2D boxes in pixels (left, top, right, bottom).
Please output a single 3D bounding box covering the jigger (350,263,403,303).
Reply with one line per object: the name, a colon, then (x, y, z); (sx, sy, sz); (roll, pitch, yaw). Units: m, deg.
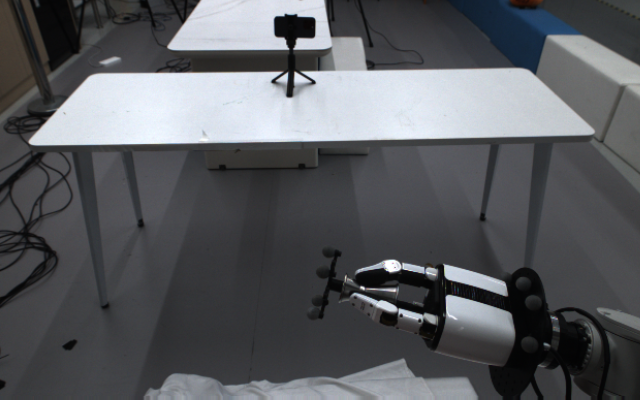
jigger: (0.067, 0.116, 0.609); (0.071, 0.043, 0.043); (14, 36, 5)
